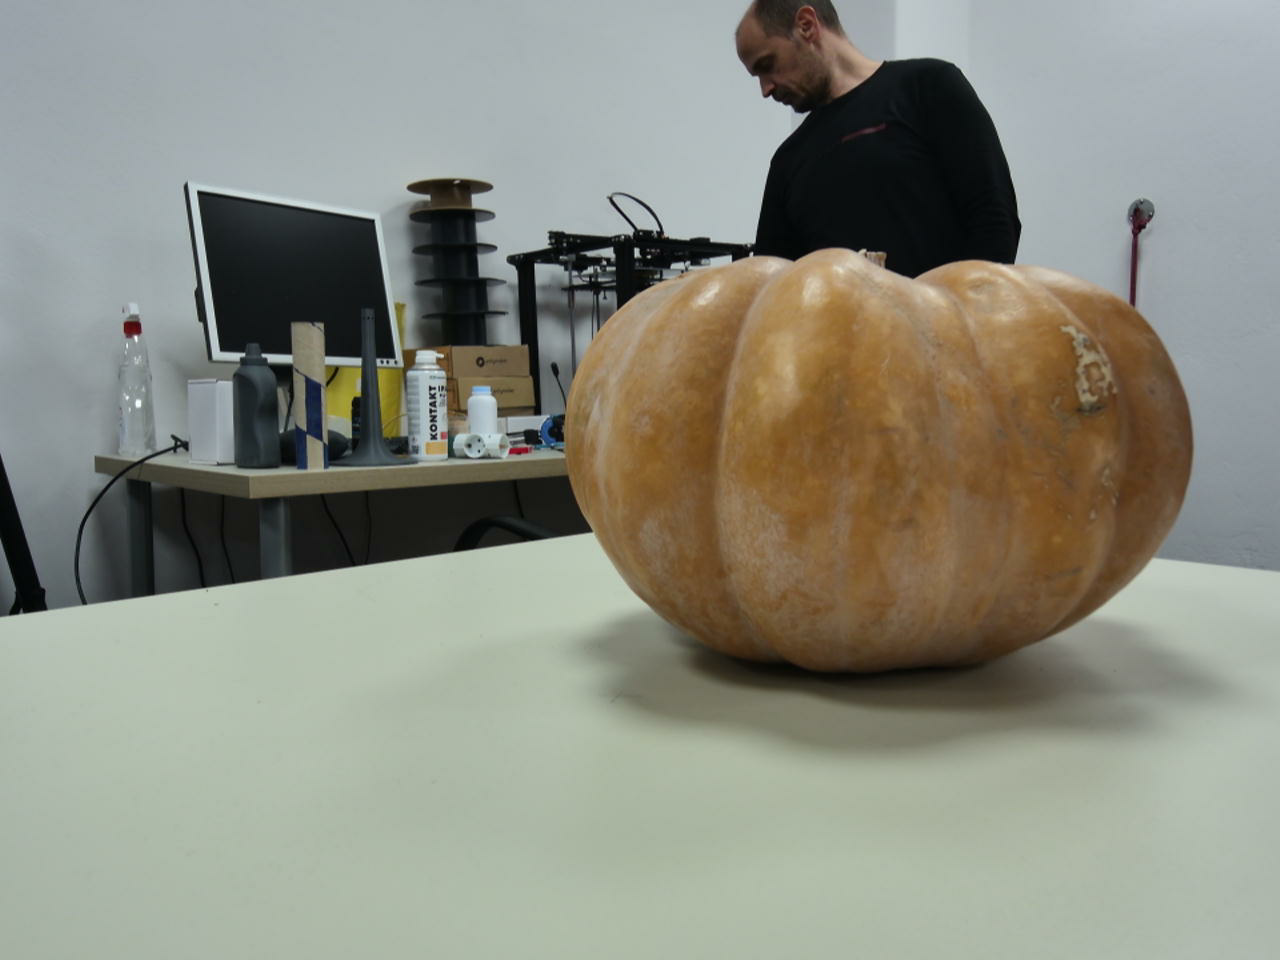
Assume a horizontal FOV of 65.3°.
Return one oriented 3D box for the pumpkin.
[{"bbox_3d":[0.098,-0.011,0.465,0.277,0.181,0.277,0,3,0],"label":"pumpkin"}]
